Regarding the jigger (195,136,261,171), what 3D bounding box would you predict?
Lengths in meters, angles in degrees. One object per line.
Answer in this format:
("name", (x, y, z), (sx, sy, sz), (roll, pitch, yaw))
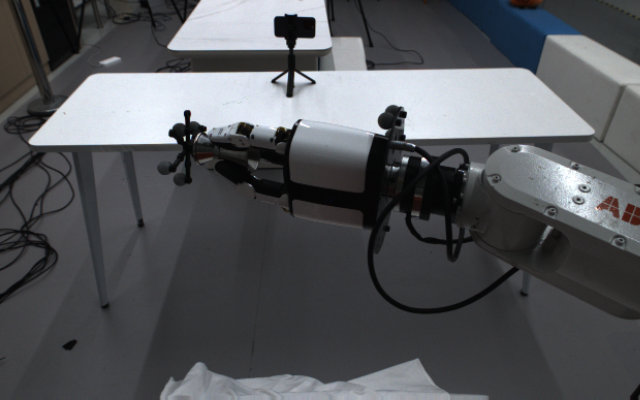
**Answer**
("jigger", (-0.103, -0.061, 0.570), (0.071, 0.043, 0.043), (6, 35, 12))
